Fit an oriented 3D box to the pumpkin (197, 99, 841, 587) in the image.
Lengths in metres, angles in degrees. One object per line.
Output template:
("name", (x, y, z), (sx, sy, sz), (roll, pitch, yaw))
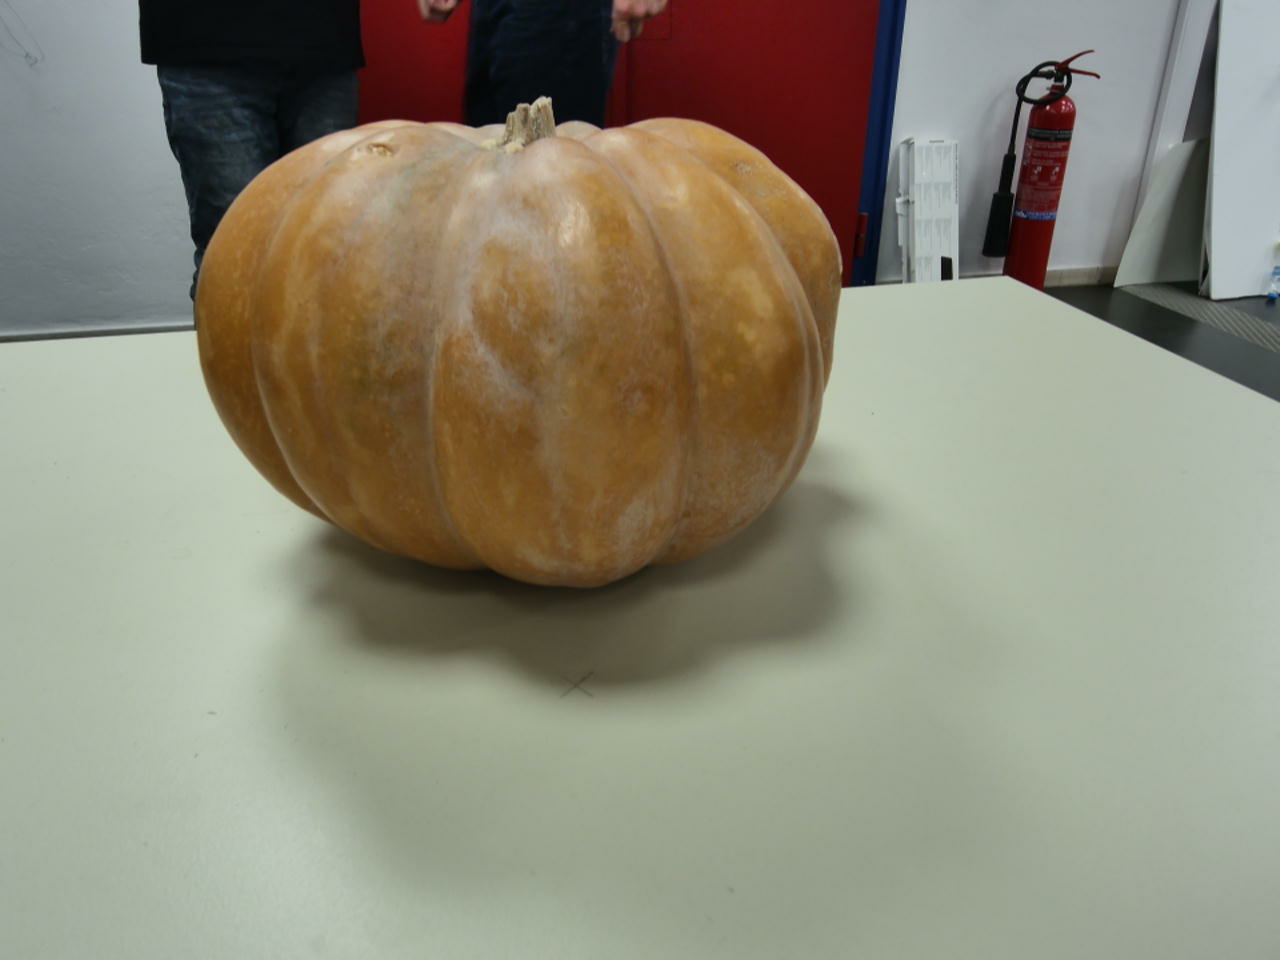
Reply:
("pumpkin", (-0.044, -0.065, 0.427), (0.277, 0.181, 0.277), (0, 25, 0))
